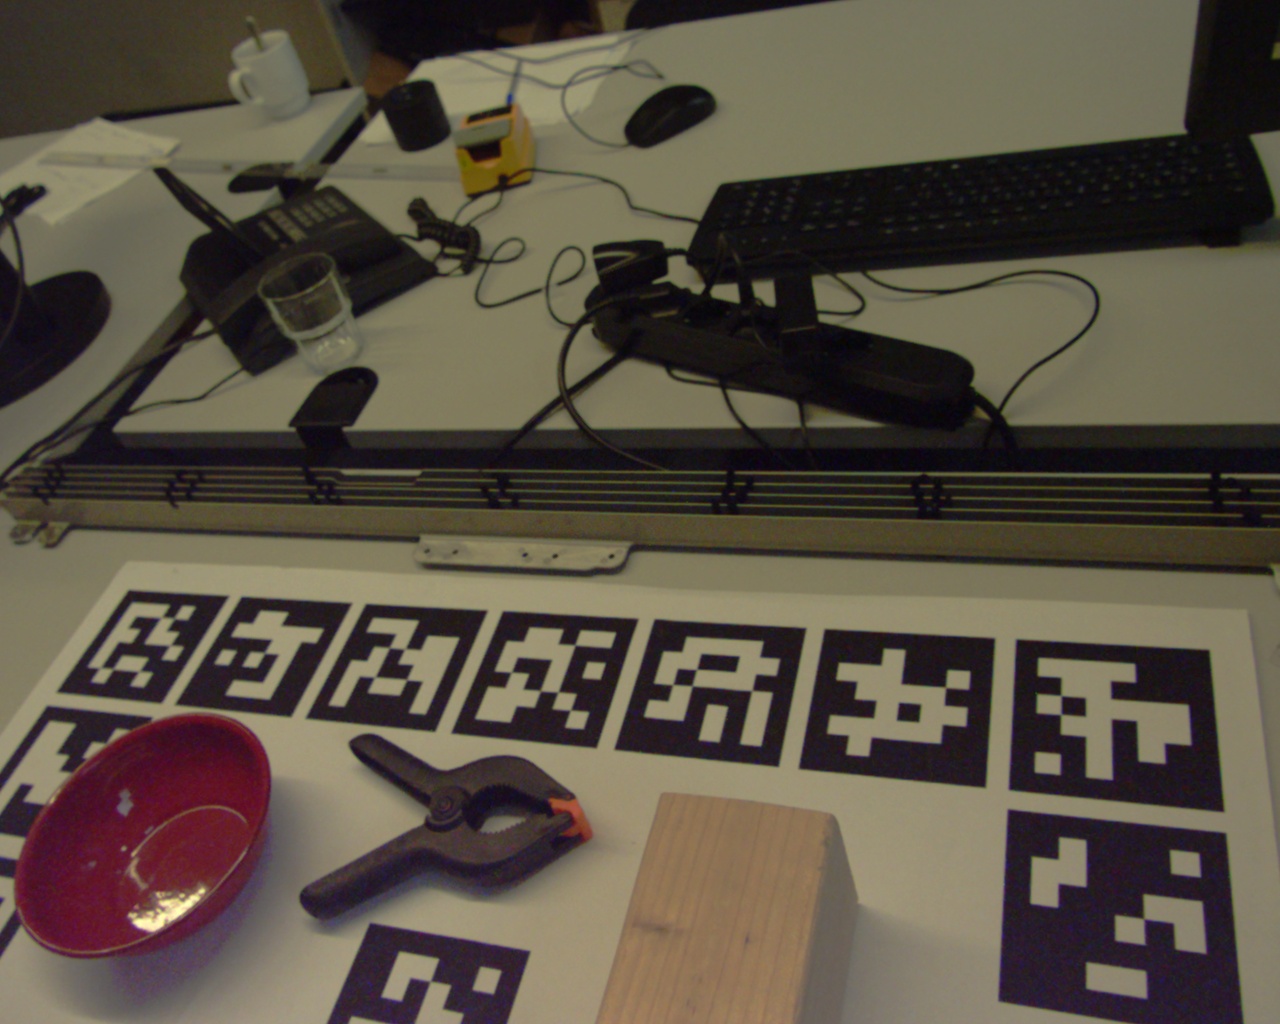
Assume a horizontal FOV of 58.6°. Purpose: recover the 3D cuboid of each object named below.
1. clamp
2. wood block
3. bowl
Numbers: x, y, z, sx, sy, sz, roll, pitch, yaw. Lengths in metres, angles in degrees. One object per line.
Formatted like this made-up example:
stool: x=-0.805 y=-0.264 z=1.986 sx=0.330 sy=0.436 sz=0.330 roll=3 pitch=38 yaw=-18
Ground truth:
clamp: x=-0.133 y=0.185 z=0.703 sx=0.166 sy=0.036 sz=0.122 roll=-6 pitch=44 yaw=12
wood block: x=0.027 y=0.244 z=0.532 sx=0.091 sy=0.090 sz=0.206 roll=4 pitch=48 yaw=22
bowl: x=-0.298 y=0.205 z=0.729 sx=0.162 sy=0.055 sz=0.162 roll=-10 pitch=47 yaw=10
